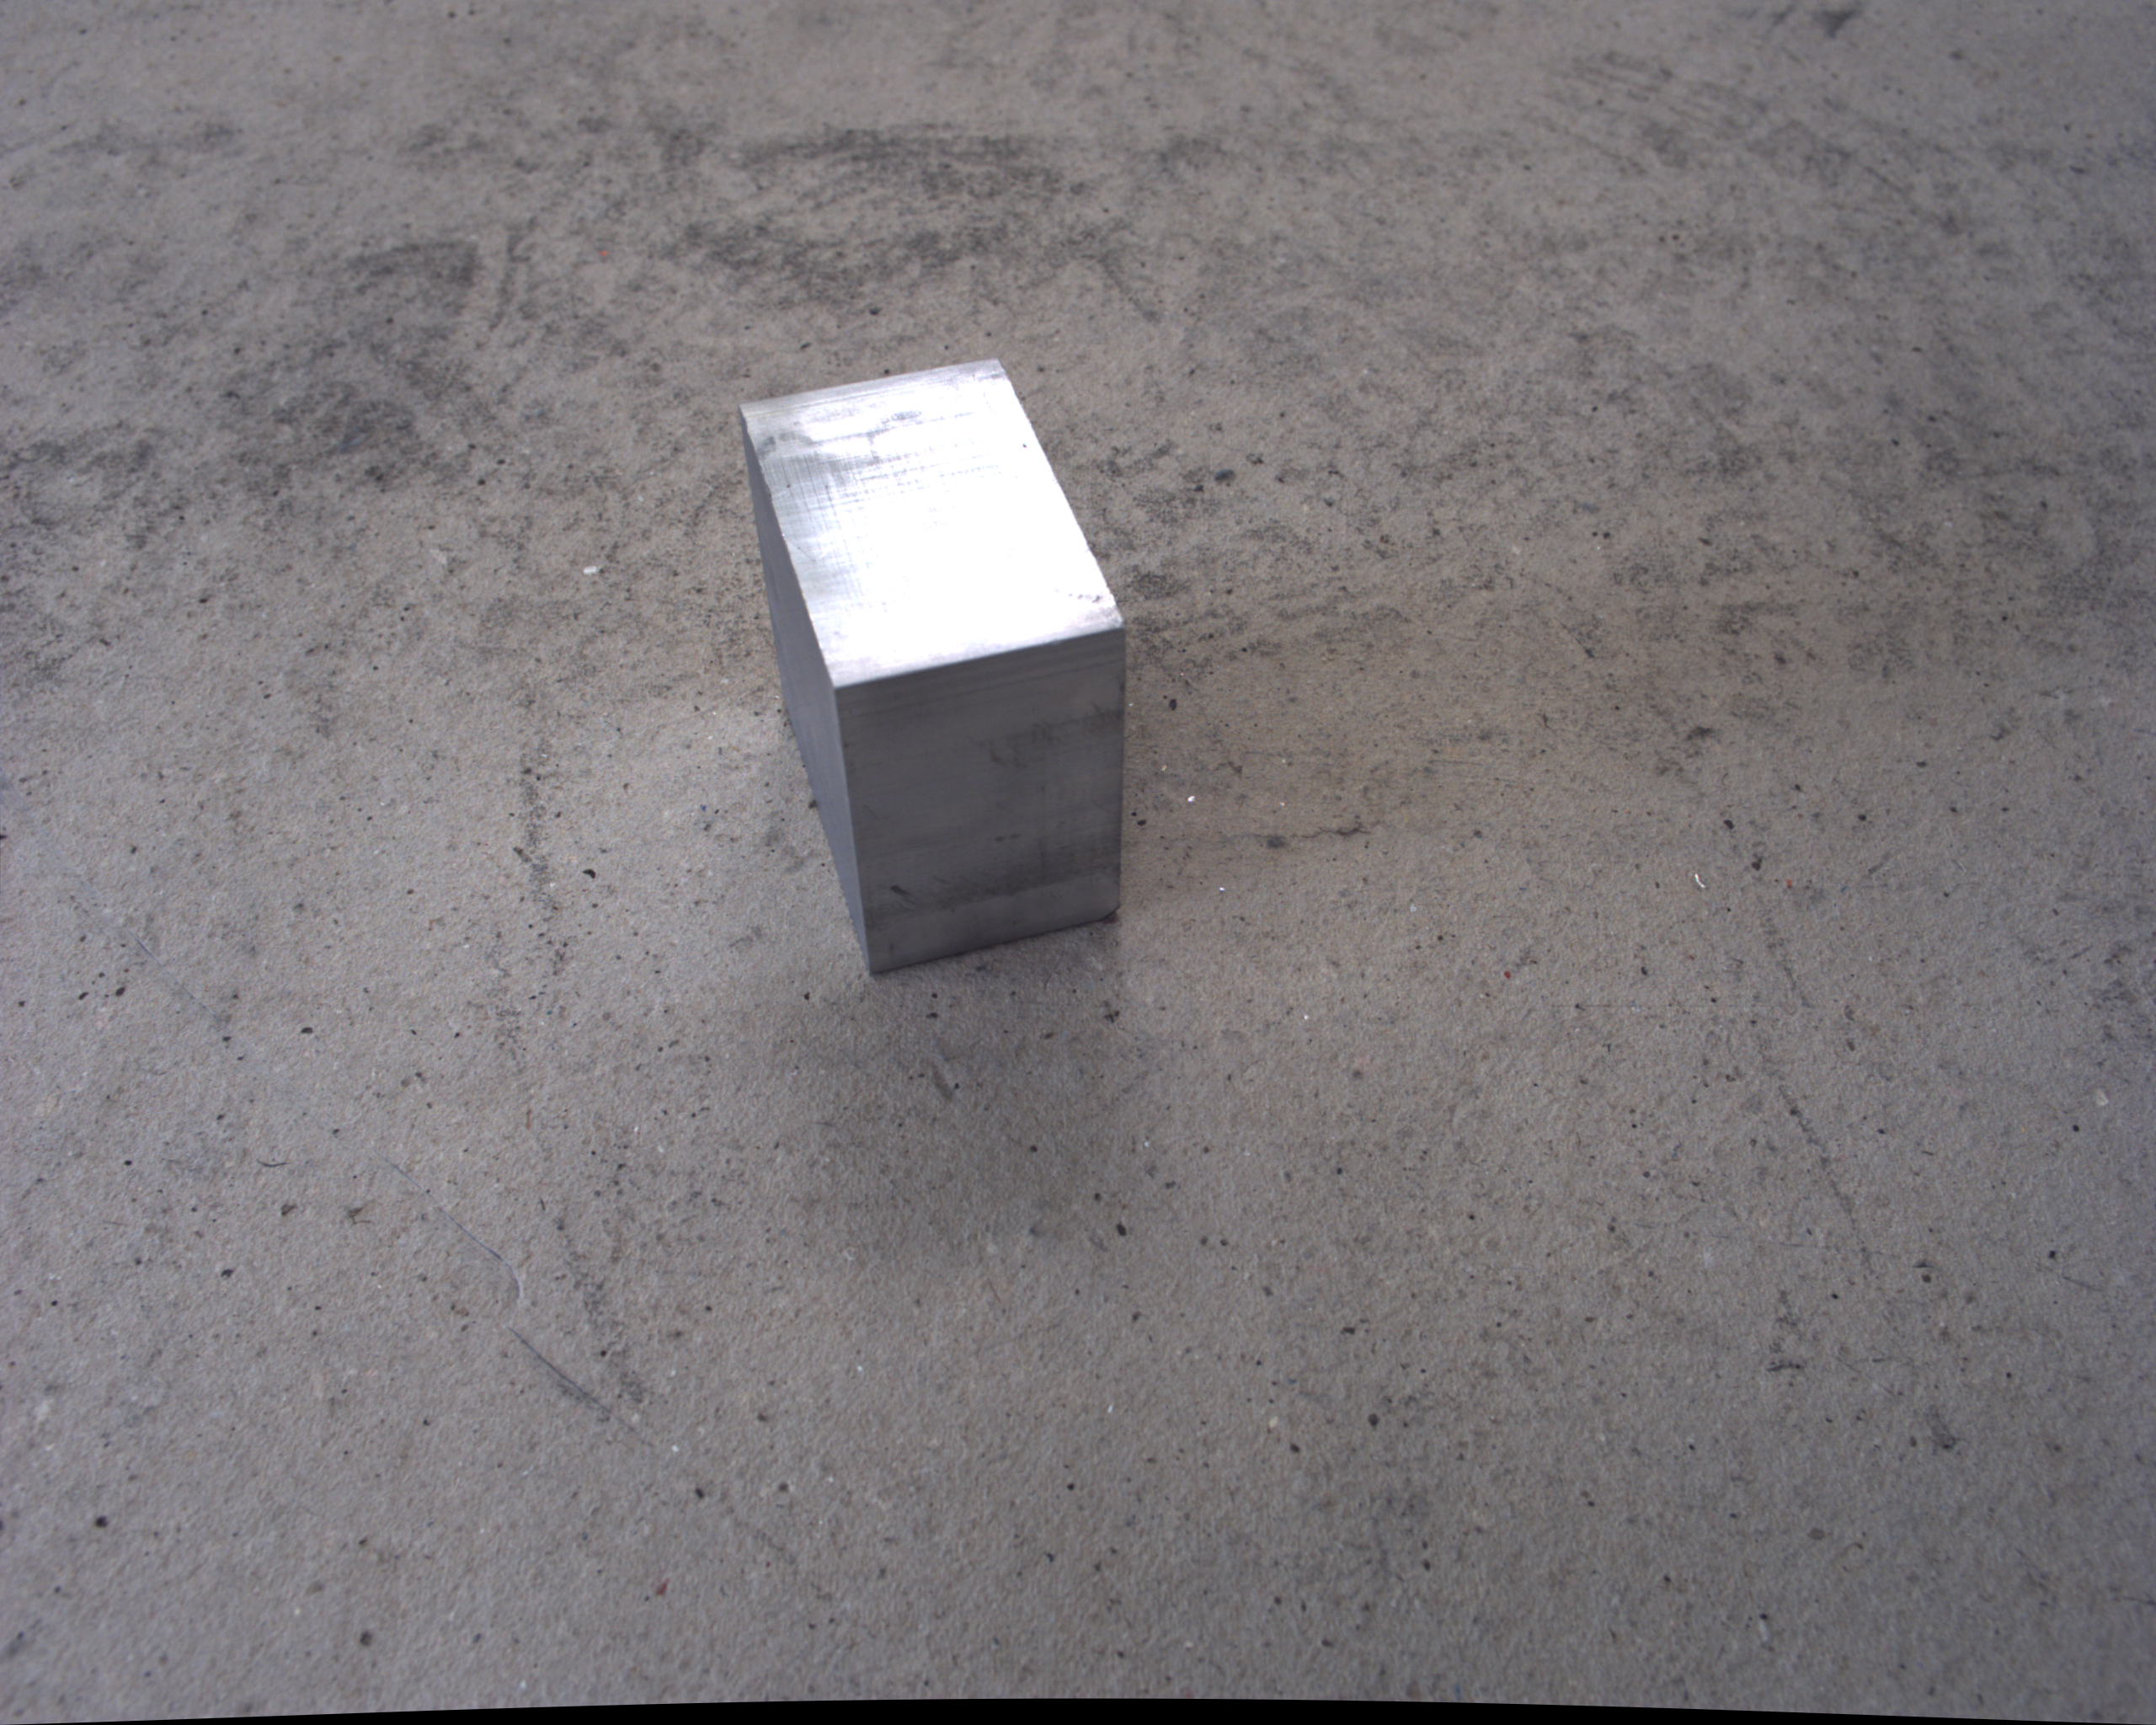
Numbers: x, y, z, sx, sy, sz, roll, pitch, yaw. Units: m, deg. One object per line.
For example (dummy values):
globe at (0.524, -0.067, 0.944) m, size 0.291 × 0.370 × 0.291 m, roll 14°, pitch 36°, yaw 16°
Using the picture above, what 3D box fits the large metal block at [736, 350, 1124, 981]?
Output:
large metal block at (-0.028, -0.038, 0.400) m, size 0.050 × 0.080 × 0.080 m, roll -13°, pitch 51°, yaw -11°
